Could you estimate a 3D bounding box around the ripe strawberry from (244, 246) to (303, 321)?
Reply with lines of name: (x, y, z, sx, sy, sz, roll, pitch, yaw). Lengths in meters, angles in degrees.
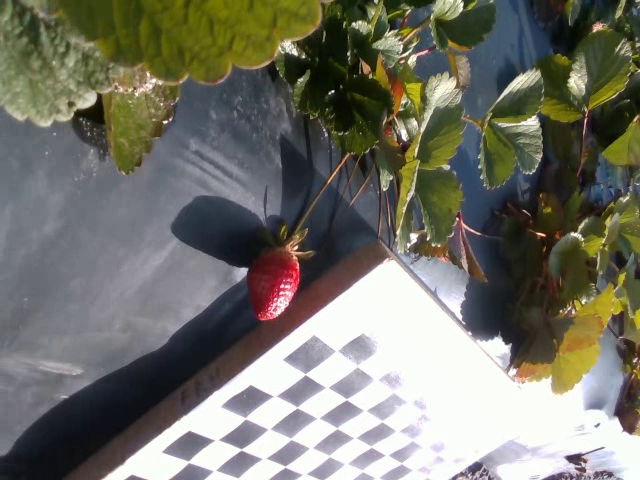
ripe strawberry: (-0.023, 0.021, 0.266, 0.033, 0.038, 0.034, -8, -34, 35)
